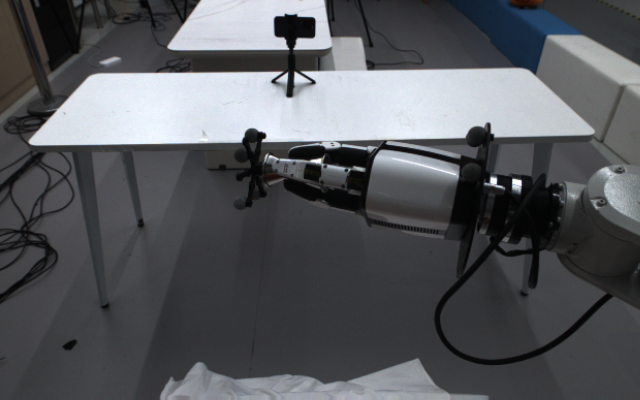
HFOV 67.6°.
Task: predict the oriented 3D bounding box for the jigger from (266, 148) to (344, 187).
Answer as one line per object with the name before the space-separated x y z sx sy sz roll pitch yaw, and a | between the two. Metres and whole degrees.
jigger | -0.018 -0.034 0.538 0.071 0.043 0.043 4 34 15
